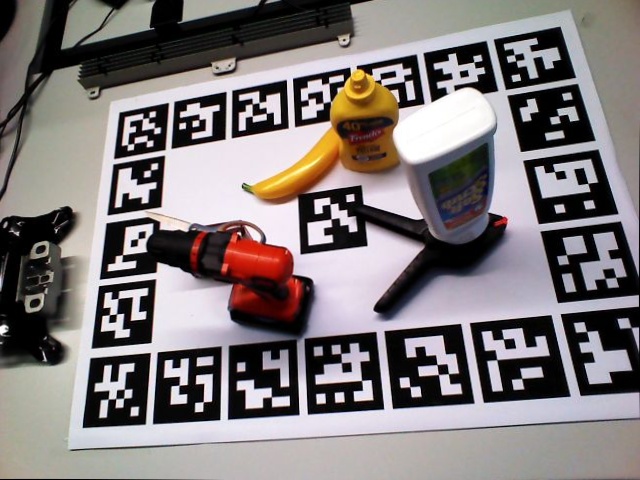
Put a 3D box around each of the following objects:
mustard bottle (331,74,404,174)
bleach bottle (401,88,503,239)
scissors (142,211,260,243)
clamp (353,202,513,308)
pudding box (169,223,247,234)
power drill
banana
[{"bbox_3d":[0.066,-0.161,0.720,0.096,0.191,0.058,6,69,15],"label":"mustard bottle"},{"bbox_3d":[0.169,-0.065,0.603,0.103,0.250,0.067,-27,60,9],"label":"bleach bottle"},{"bbox_3d":[-0.177,-0.017,0.700,0.203,0.016,0.087,18,78,15],"label":"scissors"},{"bbox_3d":[0.158,-0.006,0.698,0.203,0.037,0.164,-13,68,7],"label":"clamp"},{"bbox_3d":[-0.154,0.013,0.754,0.114,0.090,0.038,-4,61,12],"label":"pudding box"},{"bbox_3d":[-0.109,0.054,0.641,0.185,0.187,0.057,4,62,18],"label":"power drill"},{"bbox_3d":[-0.026,-0.136,0.805,0.197,0.039,0.074,-44,48,-5],"label":"banana"}]
